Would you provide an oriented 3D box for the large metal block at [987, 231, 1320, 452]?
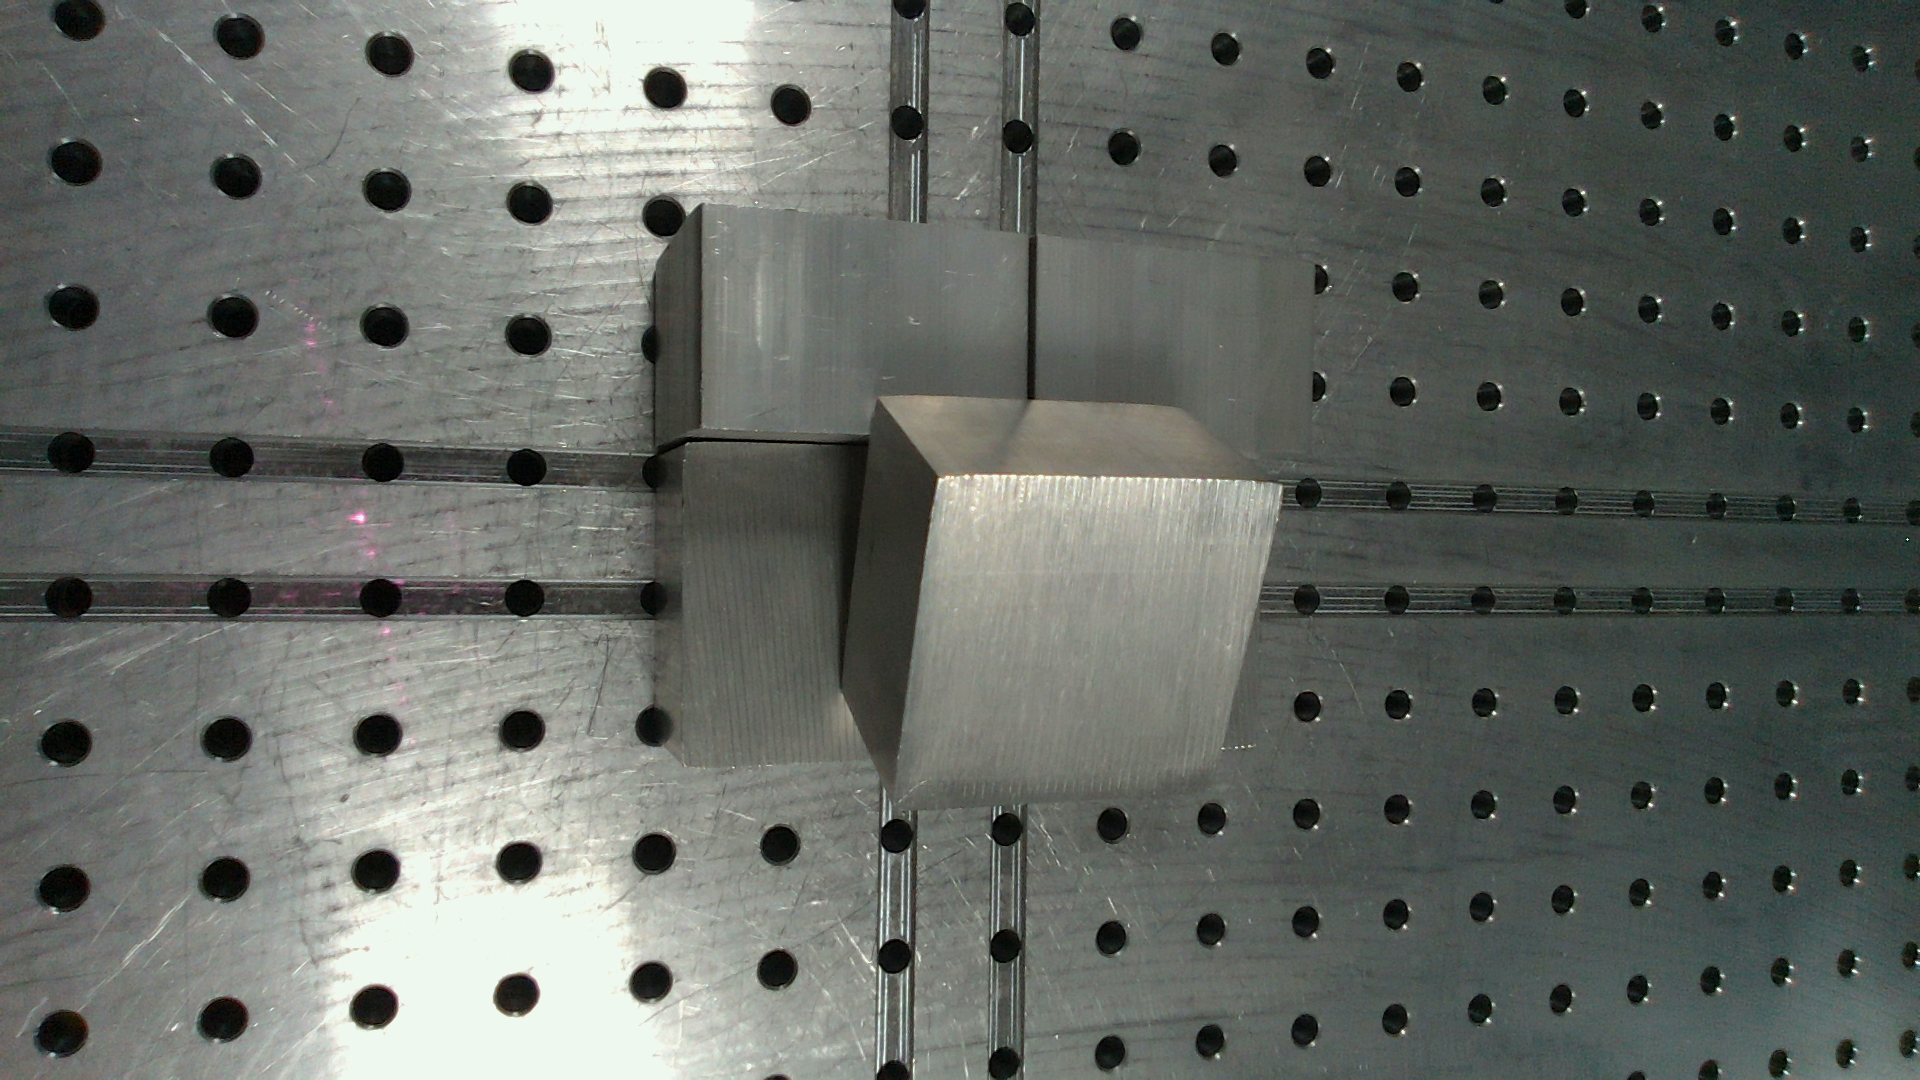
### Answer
[{"bbox_3d":[0.042,-0.049,0.381,0.080,0.080,0.050,1,90,-20],"label":"large metal block"}]

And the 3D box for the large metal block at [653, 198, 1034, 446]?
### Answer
[{"bbox_3d":[-0.034,-0.050,0.353,0.080,0.080,0.050,1,90,-20],"label":"large metal block"}]

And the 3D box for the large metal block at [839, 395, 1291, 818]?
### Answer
[{"bbox_3d":[0.021,0.014,0.319,0.080,0.050,0.080,0,114,-20],"label":"large metal block"}]

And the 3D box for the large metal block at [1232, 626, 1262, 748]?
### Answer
[{"bbox_3d":[0.038,0.017,0.394,0.080,0.050,0.080,1,90,-20],"label":"large metal block"}]

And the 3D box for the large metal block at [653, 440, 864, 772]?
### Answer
[{"bbox_3d":[-0.038,0.016,0.367,0.080,0.050,0.080,1,90,-20],"label":"large metal block"}]
